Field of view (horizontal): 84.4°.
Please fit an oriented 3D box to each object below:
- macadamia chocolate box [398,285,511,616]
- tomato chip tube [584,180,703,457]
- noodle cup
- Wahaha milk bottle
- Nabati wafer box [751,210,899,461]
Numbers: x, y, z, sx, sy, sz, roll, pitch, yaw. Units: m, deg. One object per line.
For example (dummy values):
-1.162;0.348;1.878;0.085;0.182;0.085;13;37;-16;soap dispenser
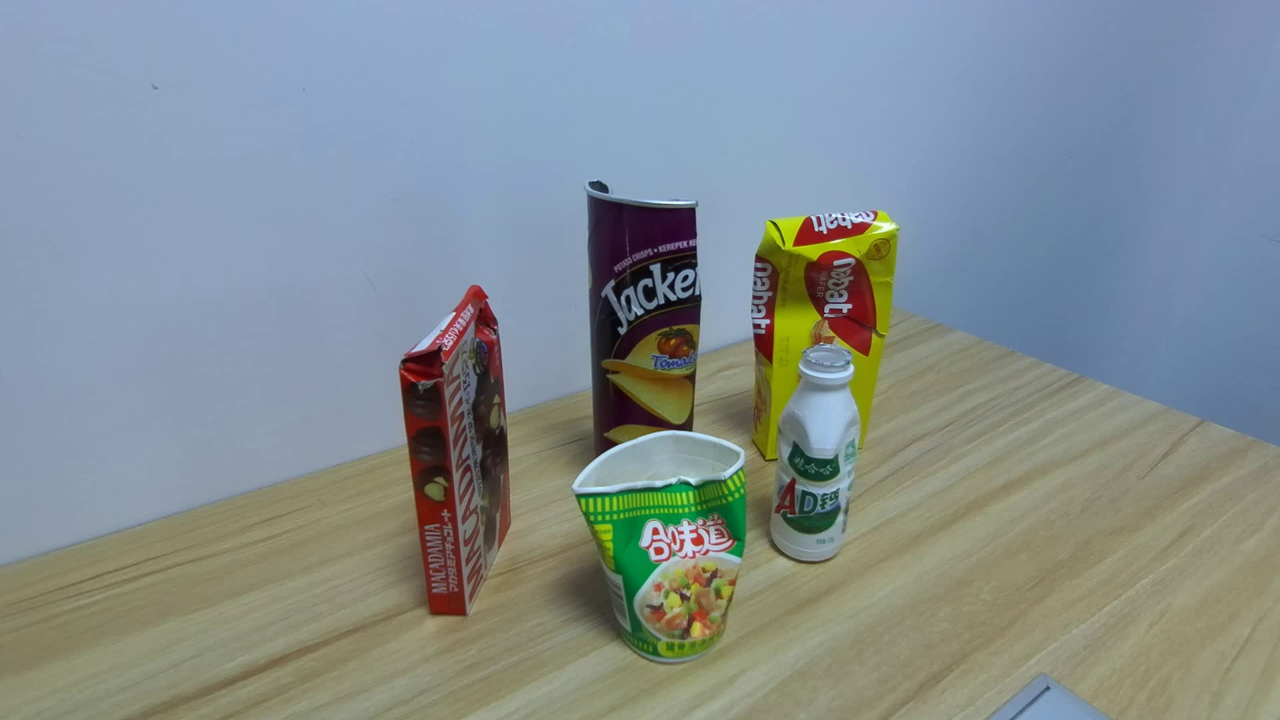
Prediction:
-0.109;0.056;0.443;0.027;0.187;0.102;6;27;5;macadamia chocolate box
0.003;-0.005;0.511;0.076;0.235;0.077;-1;24;-2;tomato chip tube
0.020;0.109;0.414;0.082;0.122;0.075;-1;18;21;noodle cup
0.115;0.063;0.466;0.055;0.149;0.055;-1;27;1;Wahaha milk bottle
0.140;-0.015;0.565;0.107;0.204;0.042;-4;26;-10;Nabati wafer box
